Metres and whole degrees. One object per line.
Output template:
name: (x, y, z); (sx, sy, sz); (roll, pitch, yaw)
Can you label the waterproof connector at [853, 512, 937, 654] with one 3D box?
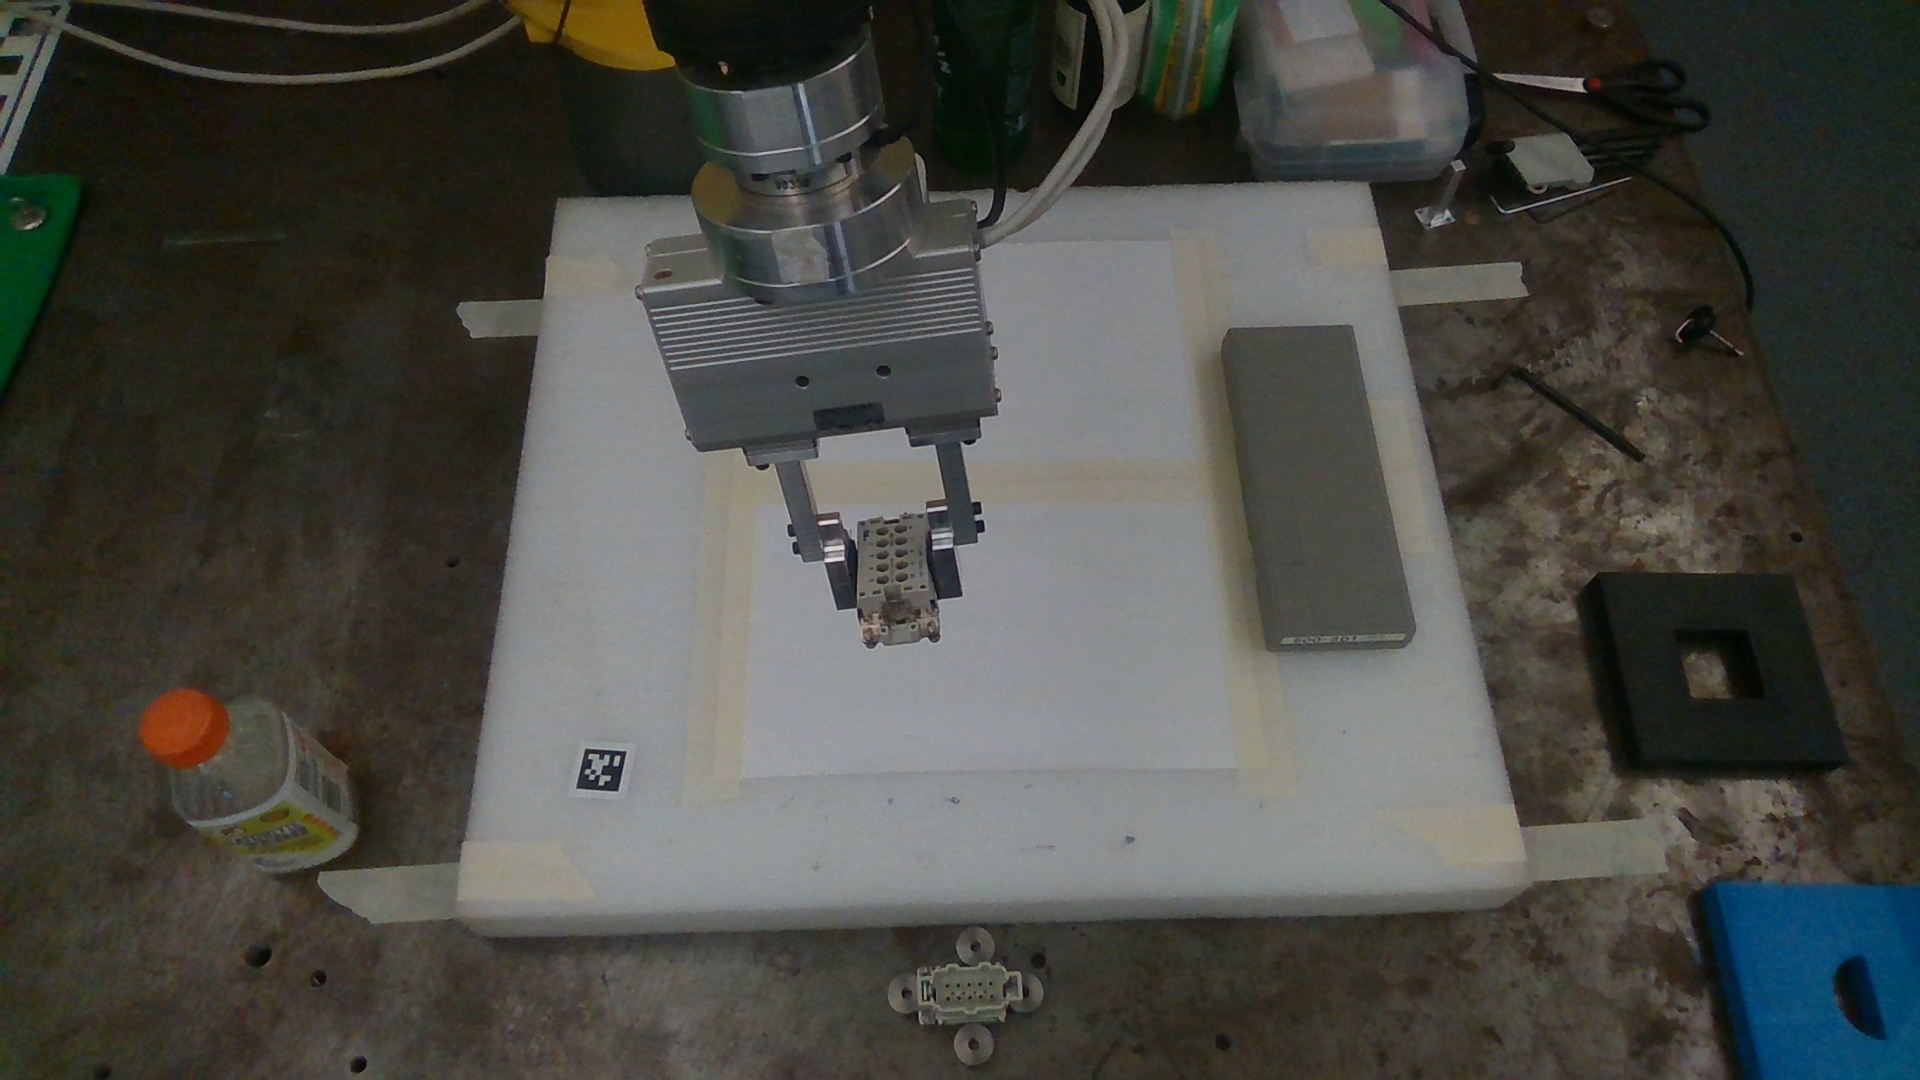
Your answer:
waterproof connector: (-0.029, 0.018, 0.633); (0.037, 0.038, 0.069); (-4, 53, 3)
